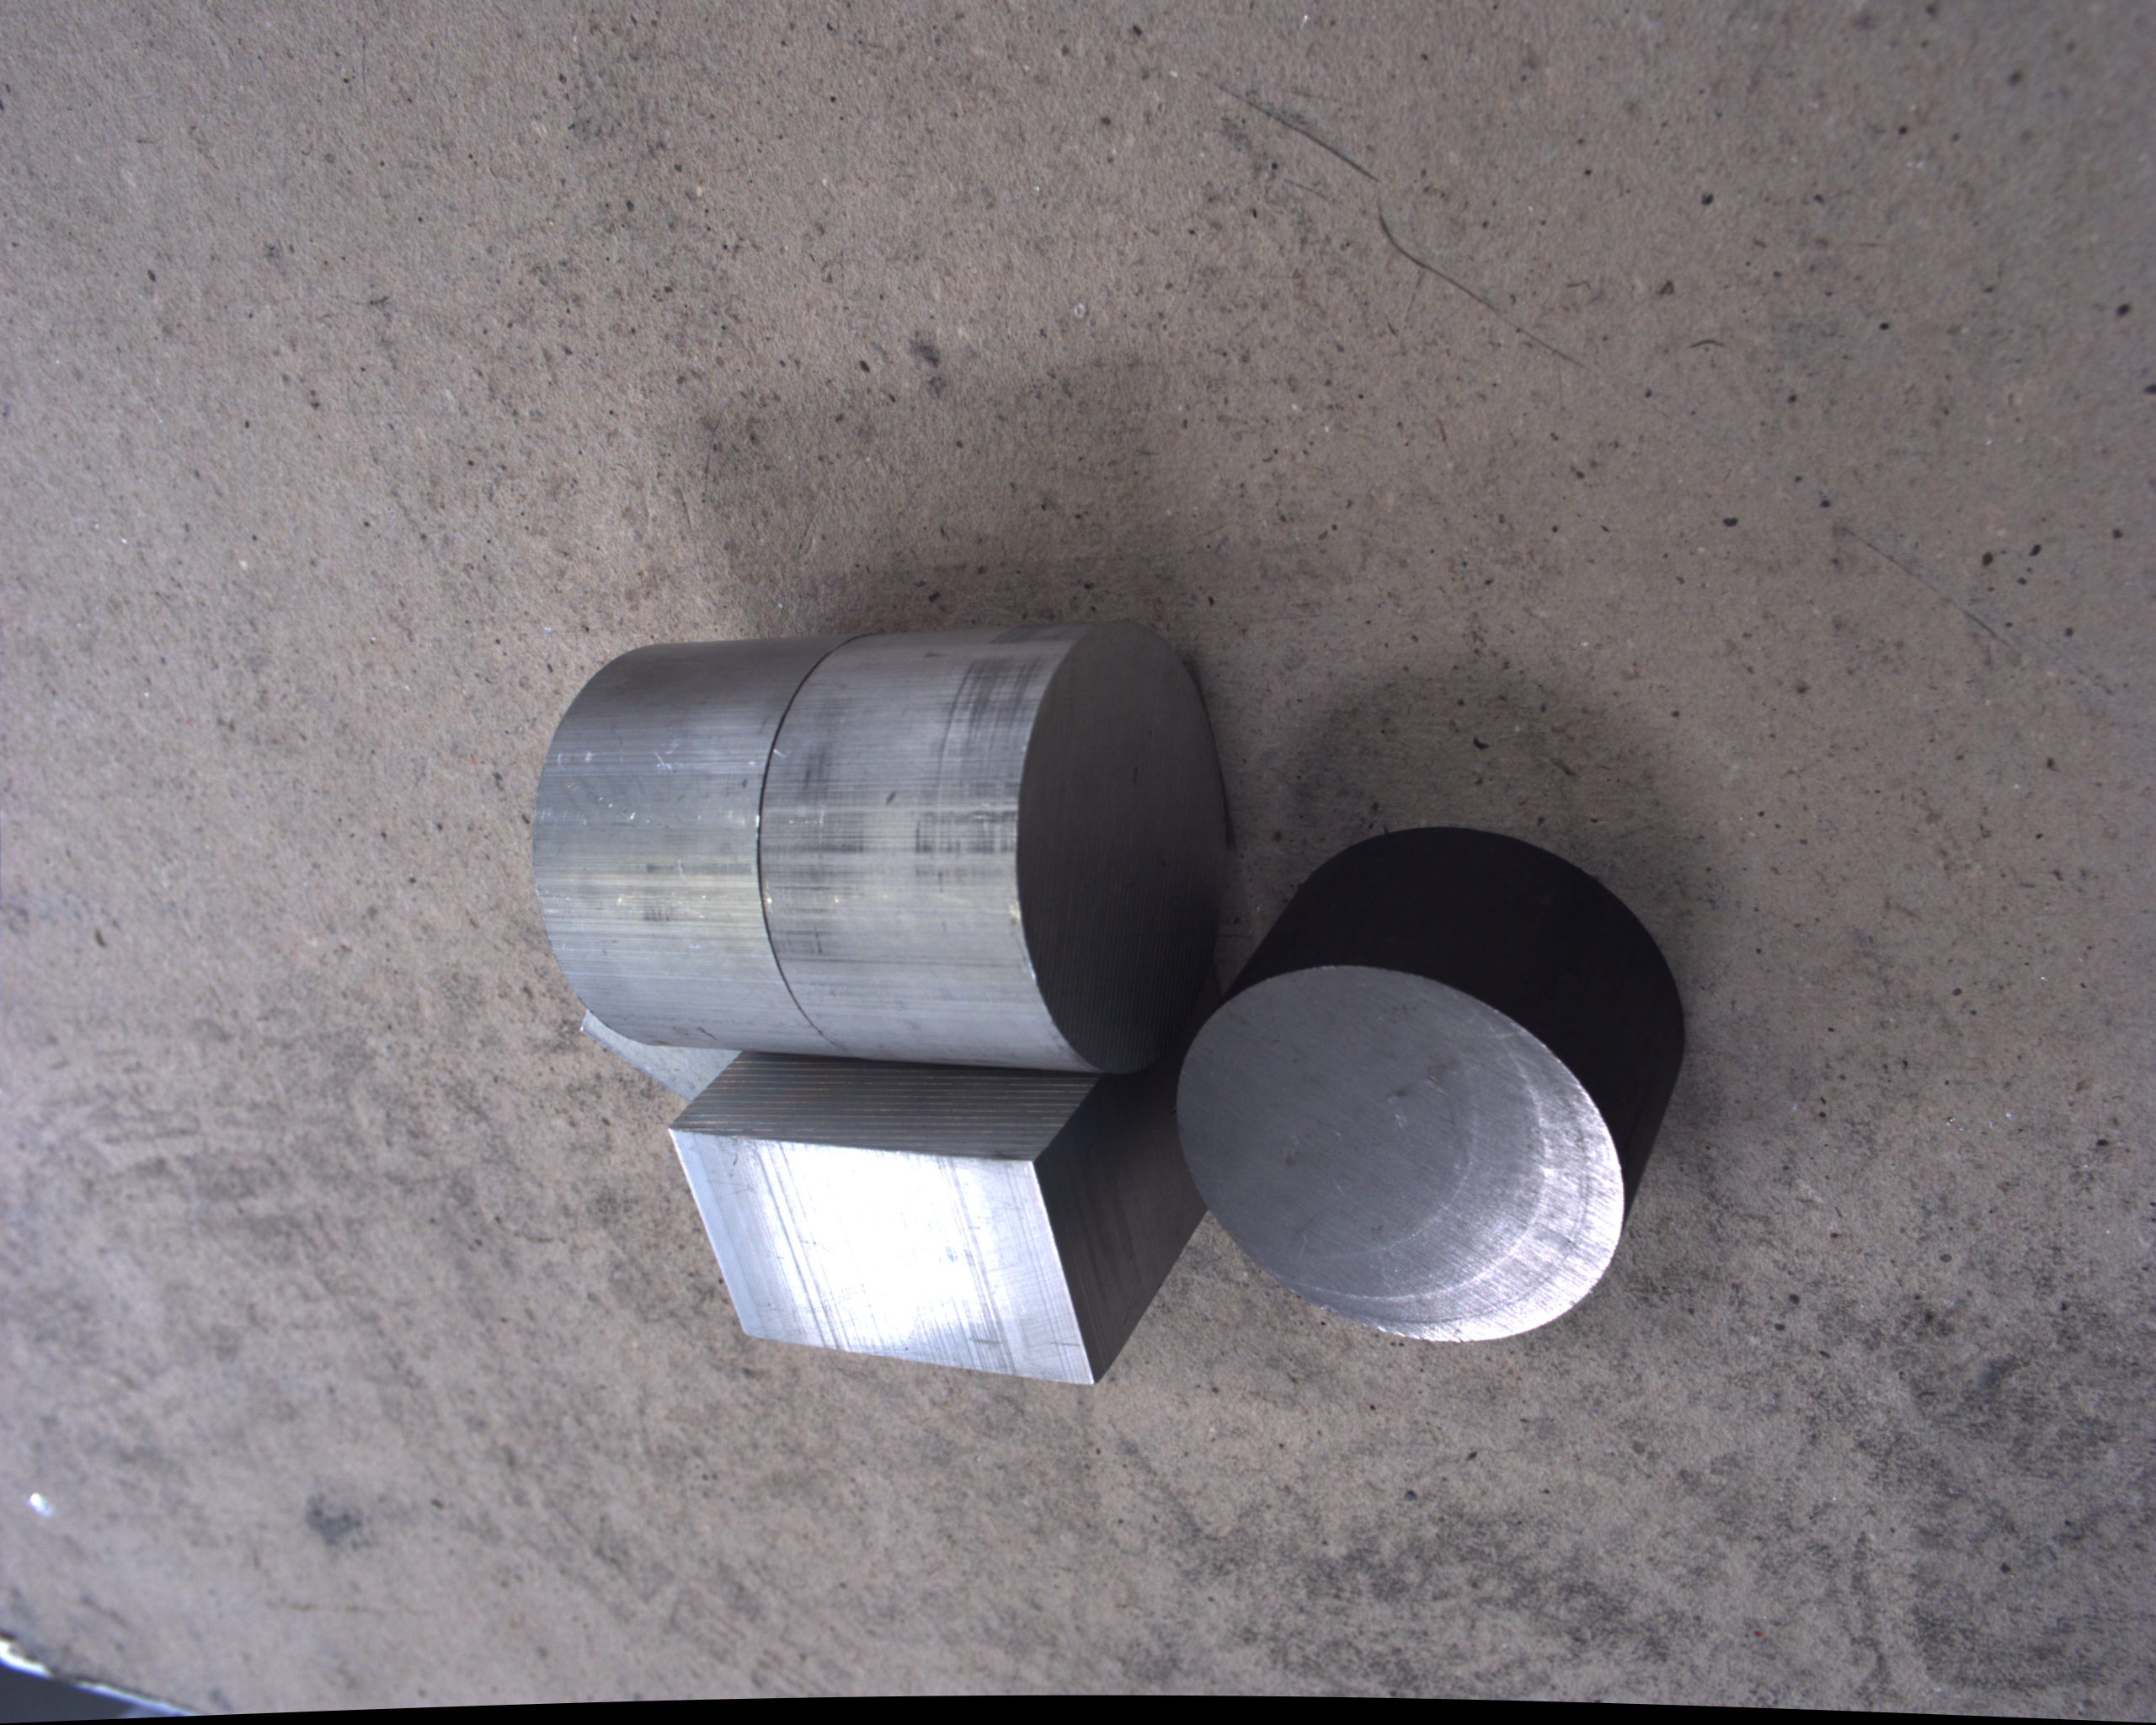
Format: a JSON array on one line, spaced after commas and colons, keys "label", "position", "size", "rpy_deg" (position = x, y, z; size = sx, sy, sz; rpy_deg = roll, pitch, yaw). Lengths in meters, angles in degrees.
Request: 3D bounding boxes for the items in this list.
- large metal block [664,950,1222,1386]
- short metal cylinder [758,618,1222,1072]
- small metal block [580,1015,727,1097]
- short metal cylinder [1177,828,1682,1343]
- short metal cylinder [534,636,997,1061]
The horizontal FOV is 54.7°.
[{"label": "large metal block", "position": [-0.021, 0.054, 0.418], "size": [0.080, 0.080, 0.050], "rpy_deg": [1, 119, 28]}, {"label": "short metal cylinder", "position": [-0.013, -0.003, 0.378], "size": [0.050, 0.080, 0.080], "rpy_deg": [1, 119, 28]}, {"label": "small metal block", "position": [-0.078, 0.028, 0.468], "size": [0.050, 0.025, 0.050], "rpy_deg": [33, 129, 6]}, {"label": "short metal cylinder", "position": [0.065, 0.040, 0.382], "size": [0.080, 0.050, 0.079], "rpy_deg": [13, 124, 21]}, {"label": "short metal cylinder", "position": [-0.058, -0.003, 0.402], "size": [0.050, 0.080, 0.080], "rpy_deg": [1, 119, 28]}]
